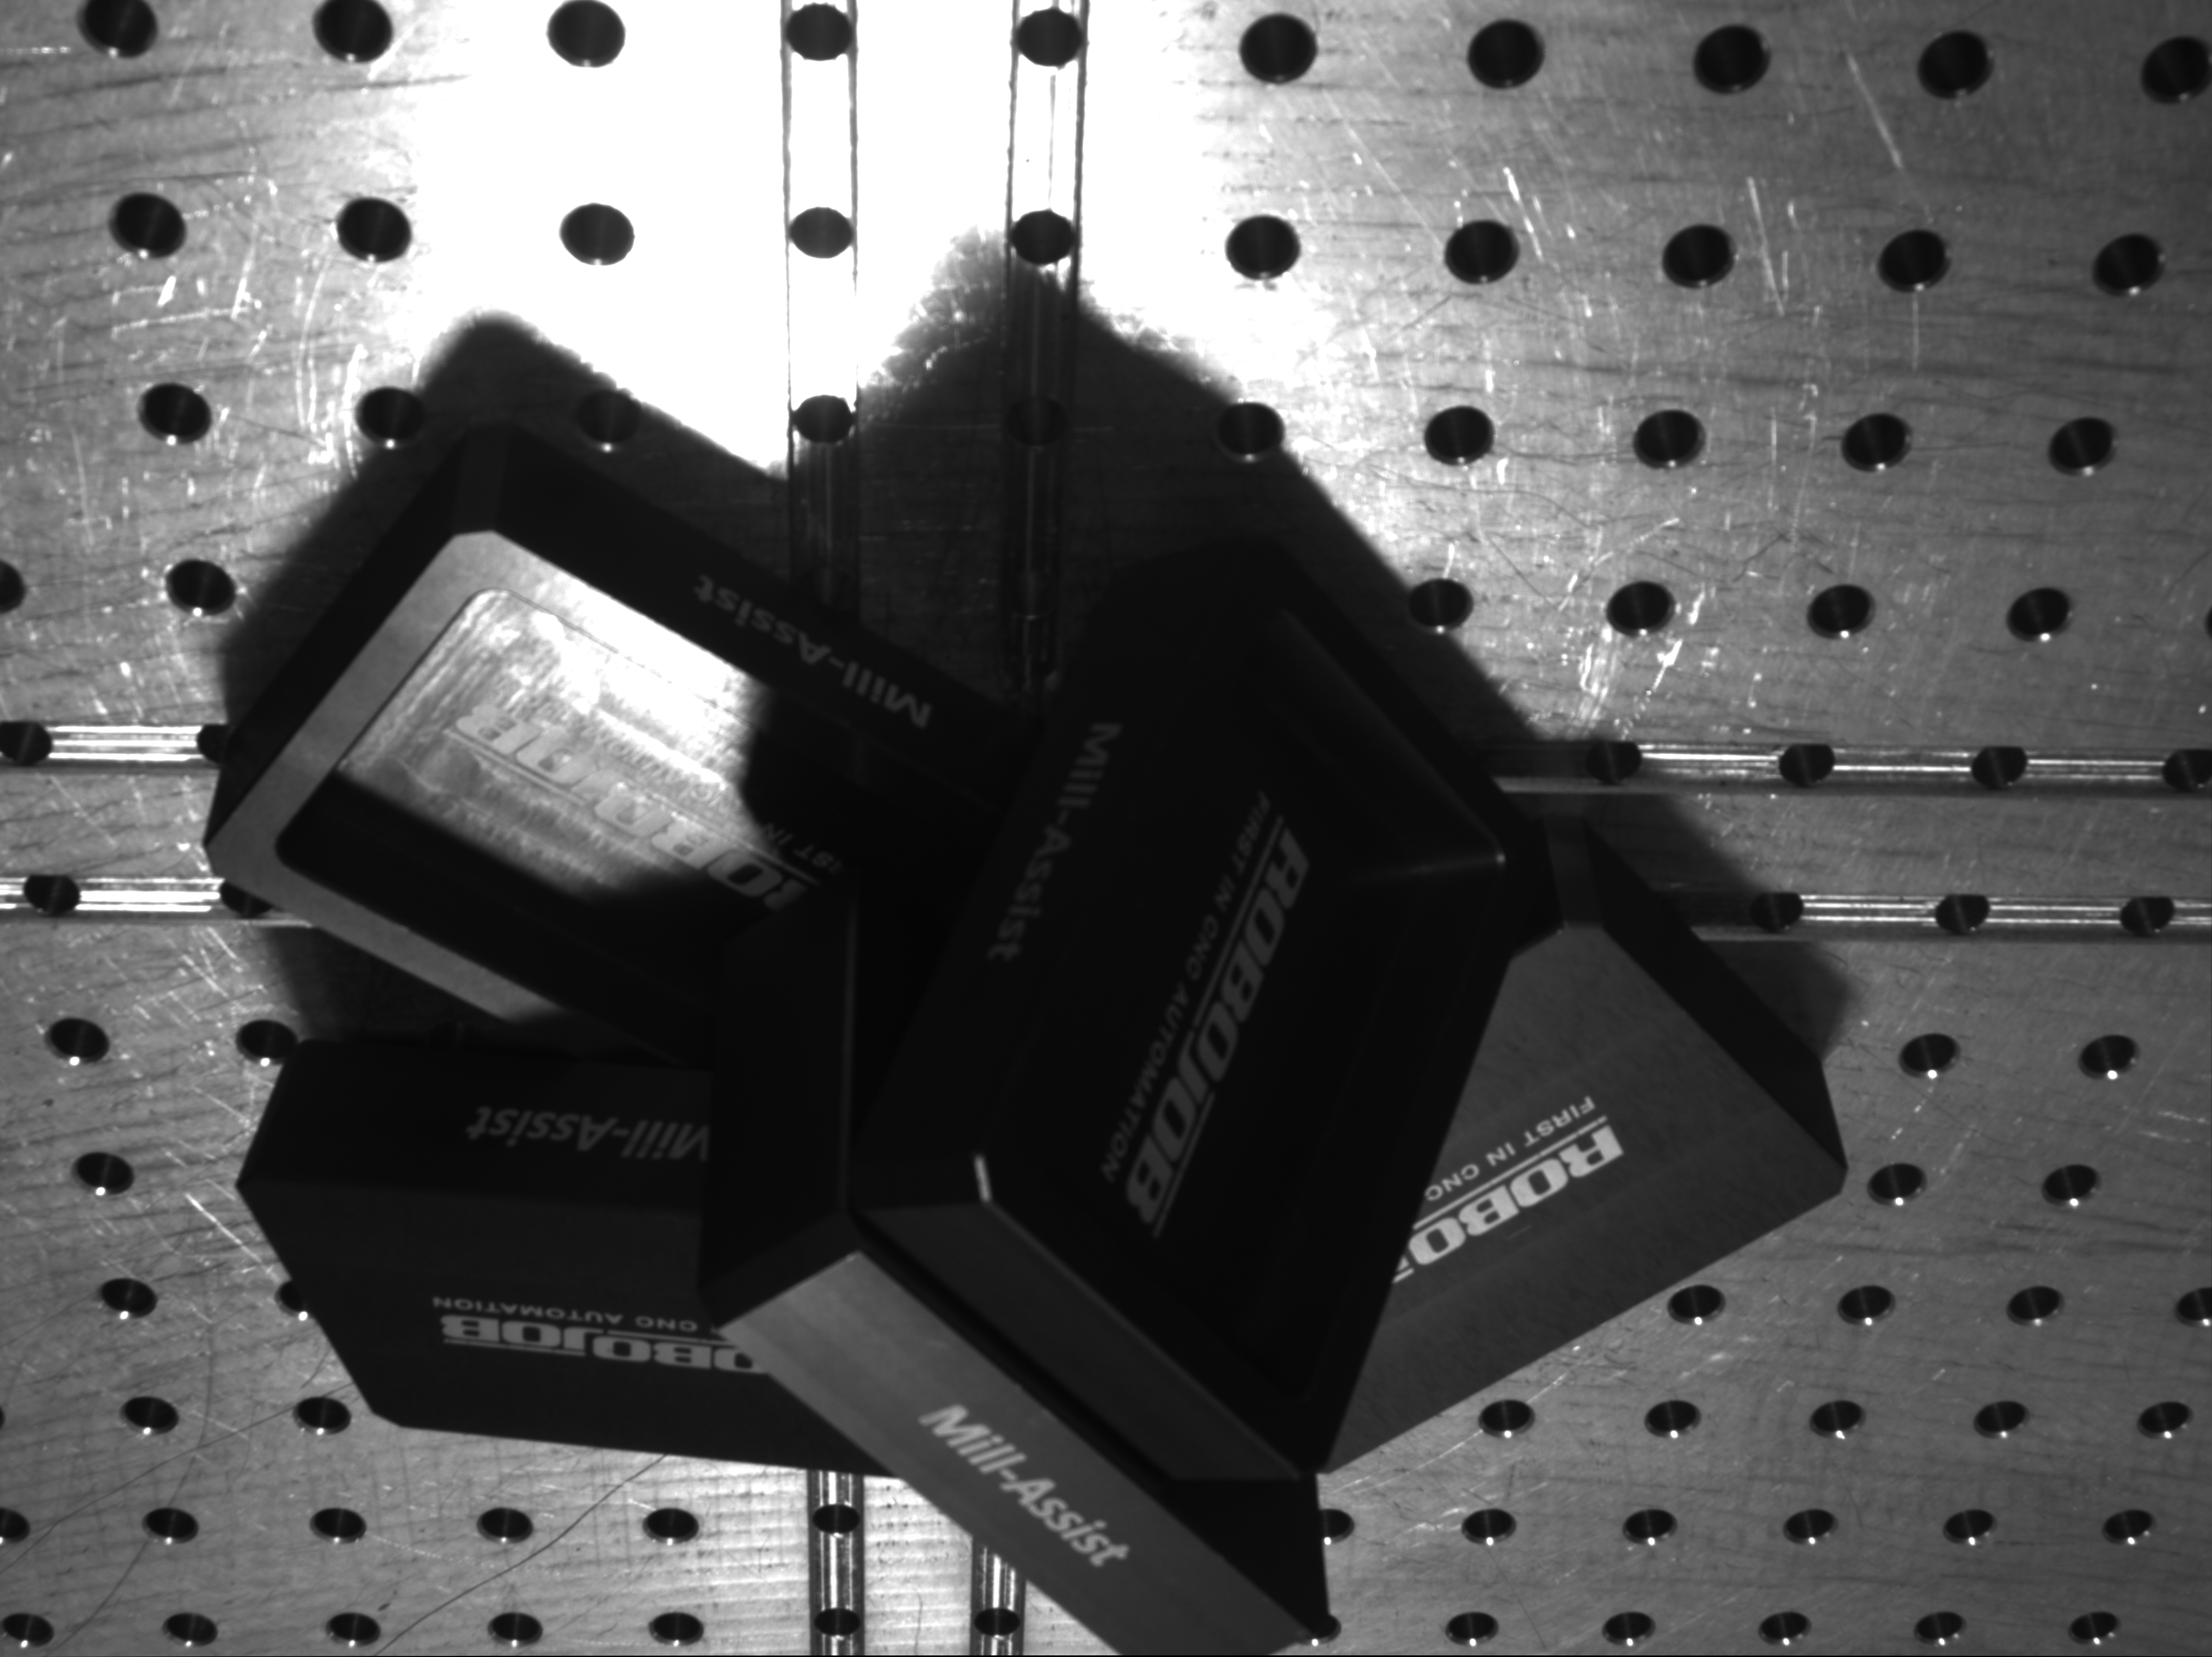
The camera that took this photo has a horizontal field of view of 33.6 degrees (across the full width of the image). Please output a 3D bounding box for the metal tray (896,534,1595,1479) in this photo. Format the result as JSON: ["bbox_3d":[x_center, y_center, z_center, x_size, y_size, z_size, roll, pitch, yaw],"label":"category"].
[{"bbox_3d":[0.027,0.029,0.598,0.030,0.130,0.090,-9,136,44],"label":"metal tray"}]

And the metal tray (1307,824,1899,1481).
[{"bbox_3d":[0.071,0.064,0.693,0.130,0.030,0.090,-34,123,24],"label":"metal tray"}]

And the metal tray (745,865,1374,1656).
[{"bbox_3d":[-0.006,0.078,0.624,0.030,0.090,0.130,-31,124,22],"label":"metal tray"}]

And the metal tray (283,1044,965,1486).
[{"bbox_3d":[-0.074,0.082,0.673,0.130,0.030,0.090,4,142,14],"label":"metal tray"}]

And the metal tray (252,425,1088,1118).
[{"bbox_3d":[-0.068,-0.002,0.634,0.130,0.030,0.090,29,123,-24],"label":"metal tray"}]
